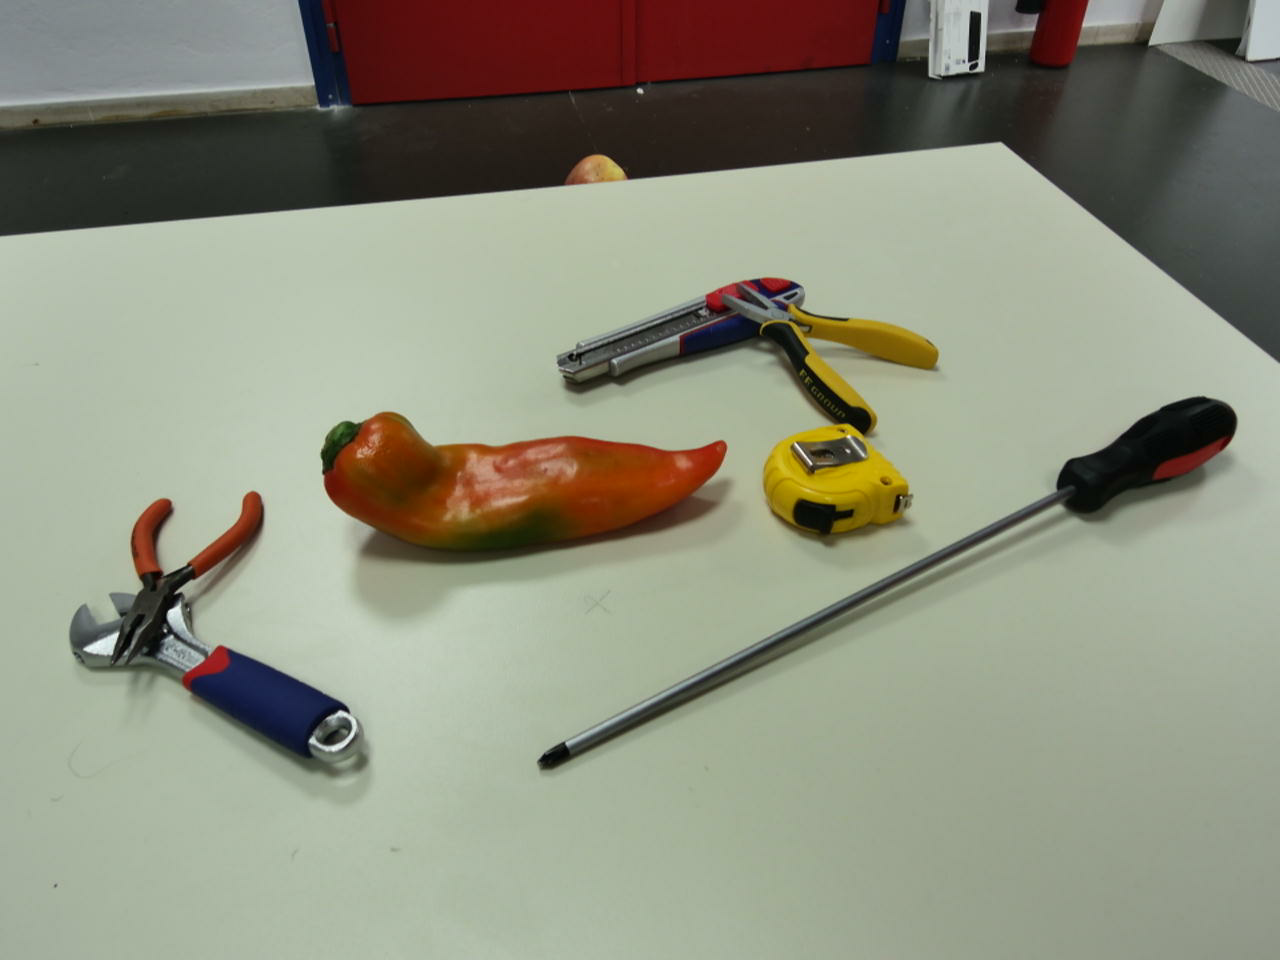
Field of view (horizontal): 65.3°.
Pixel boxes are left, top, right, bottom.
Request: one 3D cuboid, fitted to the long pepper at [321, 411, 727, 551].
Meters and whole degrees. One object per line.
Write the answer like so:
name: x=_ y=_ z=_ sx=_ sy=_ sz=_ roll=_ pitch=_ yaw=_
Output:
long pepper: x=-0.054 y=-0.008 z=0.492 sx=0.199 sy=0.065 sz=0.066 roll=-5 pitch=39 yaw=-6
